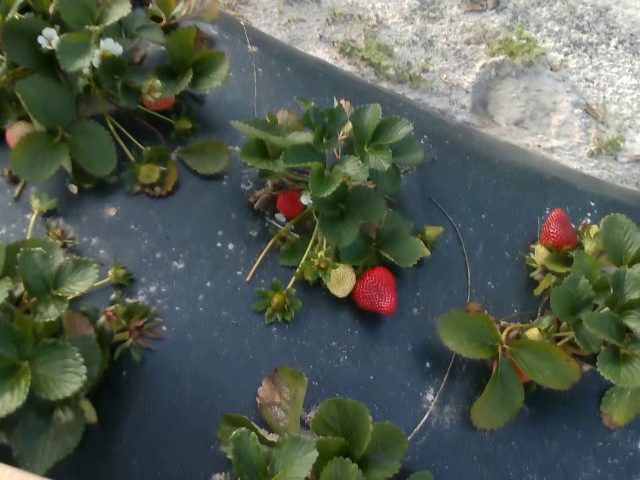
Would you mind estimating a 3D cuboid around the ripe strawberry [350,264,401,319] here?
[{"bbox_3d":[0.059,0.059,0.625,0.048,0.051,0.055,38,18,-34],"label":"ripe strawberry"}]
